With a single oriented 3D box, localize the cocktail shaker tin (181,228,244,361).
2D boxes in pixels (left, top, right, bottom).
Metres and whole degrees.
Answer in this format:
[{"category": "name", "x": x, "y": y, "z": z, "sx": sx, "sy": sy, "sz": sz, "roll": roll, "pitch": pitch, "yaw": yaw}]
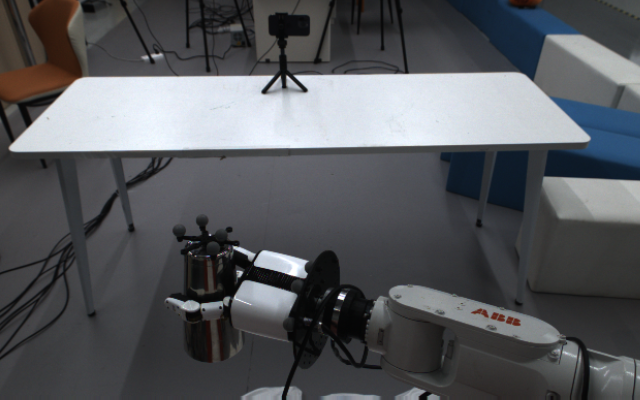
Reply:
[{"category": "cocktail shaker tin", "x": -0.157, "y": 0.139, "z": 0.702, "sx": 0.093, "sy": 0.170, "sz": 0.093, "roll": 2, "pitch": 25, "yaw": -1}]
